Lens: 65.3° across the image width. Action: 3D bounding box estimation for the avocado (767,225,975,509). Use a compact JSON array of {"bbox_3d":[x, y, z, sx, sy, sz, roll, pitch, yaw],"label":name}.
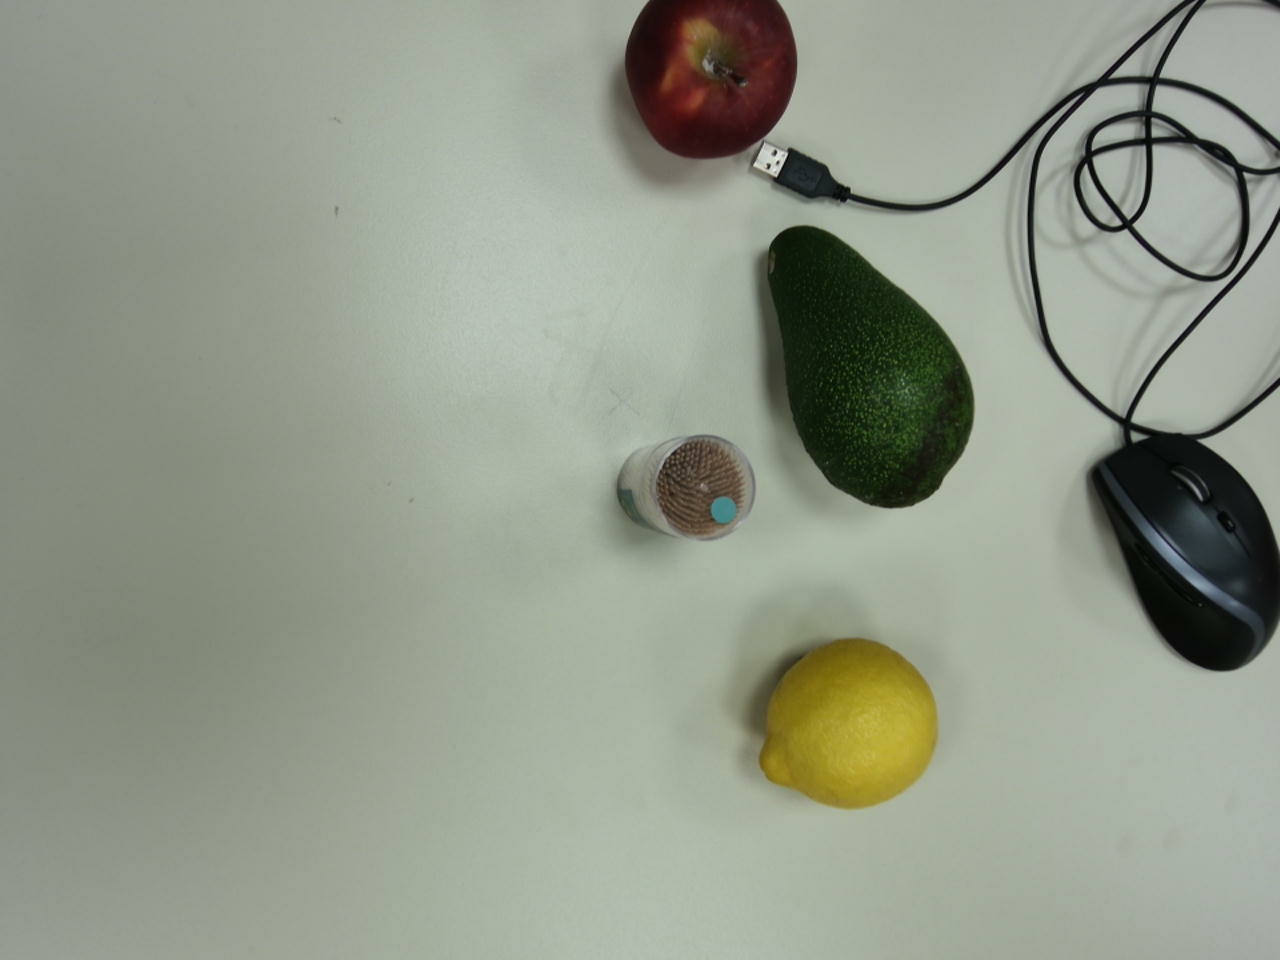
[{"bbox_3d":[0.099,-0.049,0.416,0.074,0.076,0.123,-5,91,-11],"label":"avocado"}]
